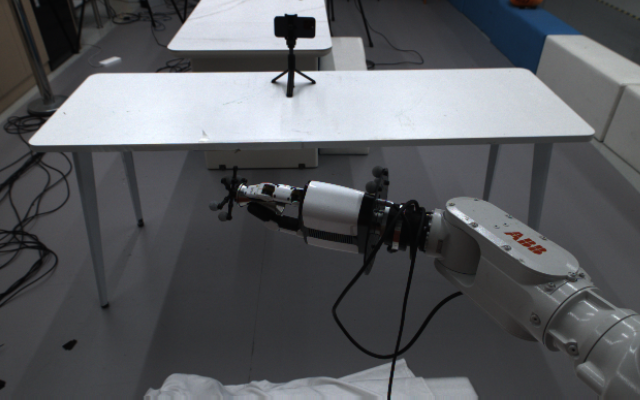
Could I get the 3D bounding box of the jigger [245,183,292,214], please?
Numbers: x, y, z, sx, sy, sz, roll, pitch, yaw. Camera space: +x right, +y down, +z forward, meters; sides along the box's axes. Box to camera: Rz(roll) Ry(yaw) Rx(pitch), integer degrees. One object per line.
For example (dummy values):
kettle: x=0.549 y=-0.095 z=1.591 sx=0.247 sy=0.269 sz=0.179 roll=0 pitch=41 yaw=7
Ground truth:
jigger: x=-0.087 y=-0.007 z=0.758 sx=0.071 sy=0.043 sz=0.043 roll=10 pitch=35 yaw=16
